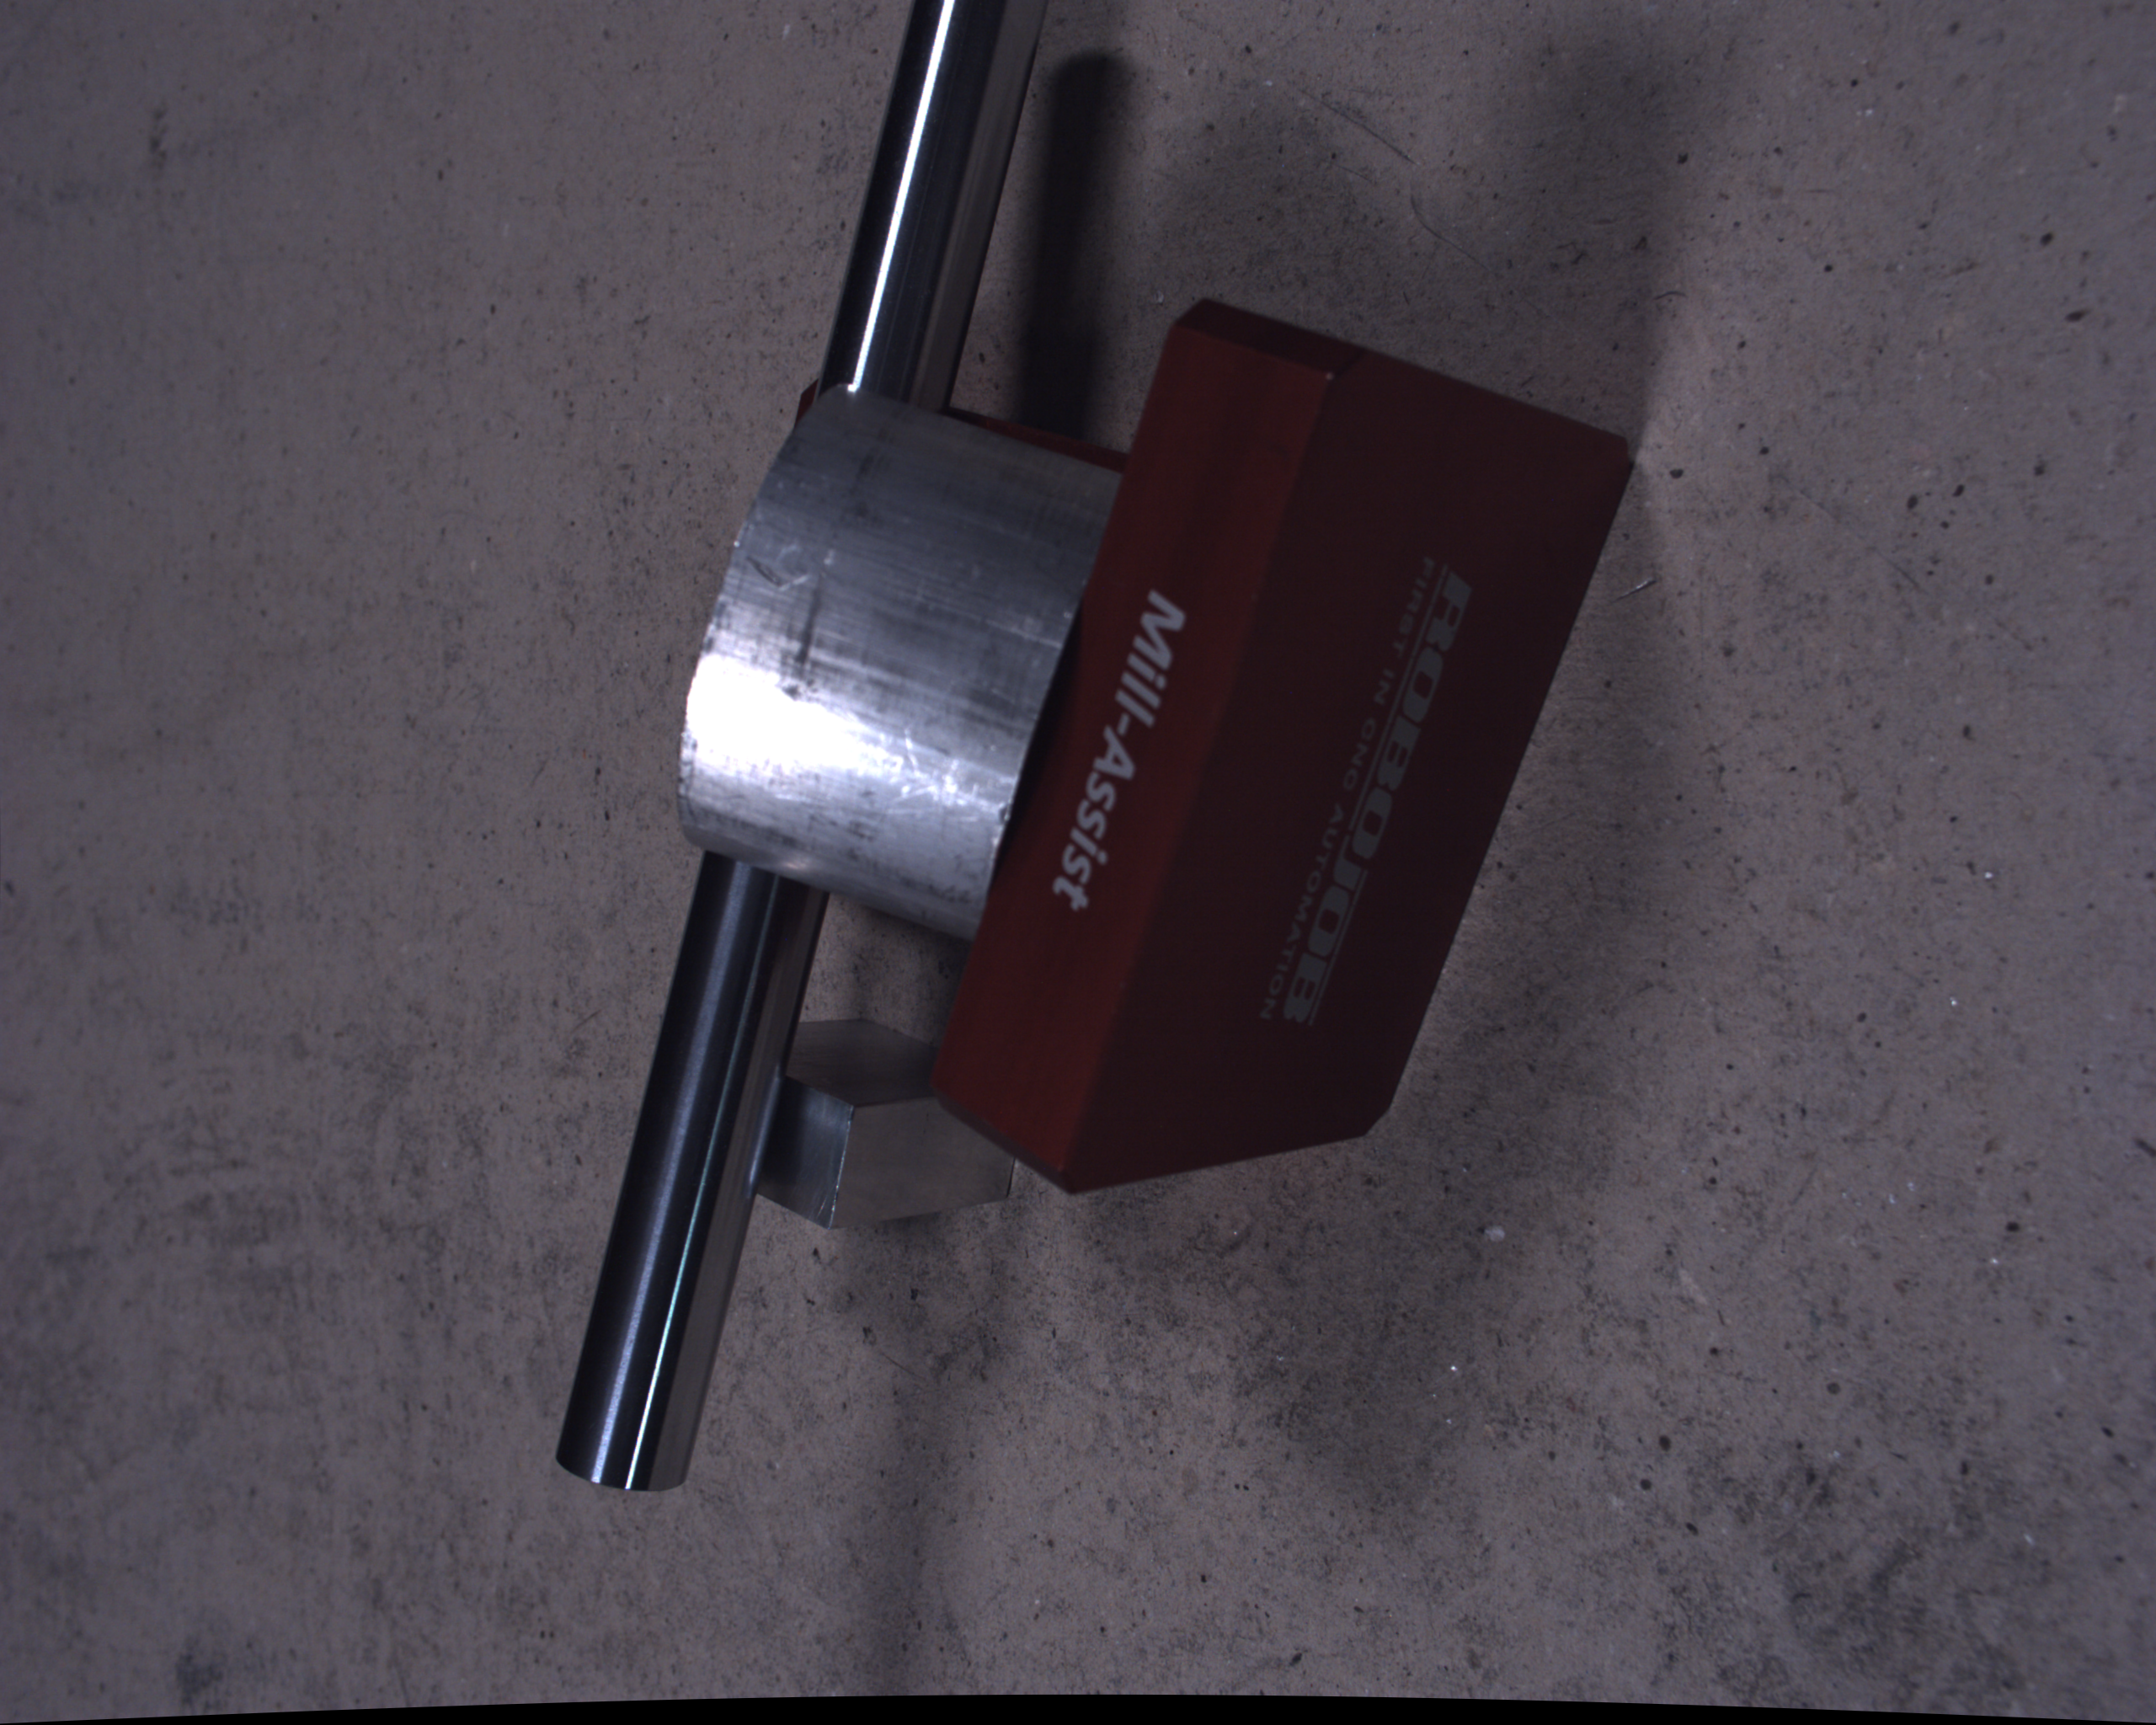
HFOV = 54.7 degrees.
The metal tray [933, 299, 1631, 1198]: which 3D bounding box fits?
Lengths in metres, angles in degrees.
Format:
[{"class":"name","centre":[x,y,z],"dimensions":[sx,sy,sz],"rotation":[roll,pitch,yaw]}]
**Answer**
[{"class":"metal tray","centre":[0.035,-0.015,0.334],"dimensions":[0.030,0.091,0.129],"rotation":[29,108,36]}]

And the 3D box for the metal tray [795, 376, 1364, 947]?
[{"class":"metal tray","centre":[-0.010,-0.039,0.409],"dimensions":[0.130,0.030,0.089],"rotation":[23,105,37]}]

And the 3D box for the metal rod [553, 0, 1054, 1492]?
[{"class":"metal rod","centre":[-0.051,-0.030,0.395],"dimensions":[0.025,0.025,0.298],"rotation":[14,90,39]}]

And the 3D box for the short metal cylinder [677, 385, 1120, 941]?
[{"class":"short metal cylinder","centre":[-0.025,-0.032,0.342],"dimensions":[0.050,0.080,0.079],"rotation":[19,105,4]}]

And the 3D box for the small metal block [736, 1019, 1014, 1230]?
[{"class":"small metal block","centre":[-0.047,0.052,0.427],"dimensions":[0.050,0.050,0.025],"rotation":[17,101,38]}]
